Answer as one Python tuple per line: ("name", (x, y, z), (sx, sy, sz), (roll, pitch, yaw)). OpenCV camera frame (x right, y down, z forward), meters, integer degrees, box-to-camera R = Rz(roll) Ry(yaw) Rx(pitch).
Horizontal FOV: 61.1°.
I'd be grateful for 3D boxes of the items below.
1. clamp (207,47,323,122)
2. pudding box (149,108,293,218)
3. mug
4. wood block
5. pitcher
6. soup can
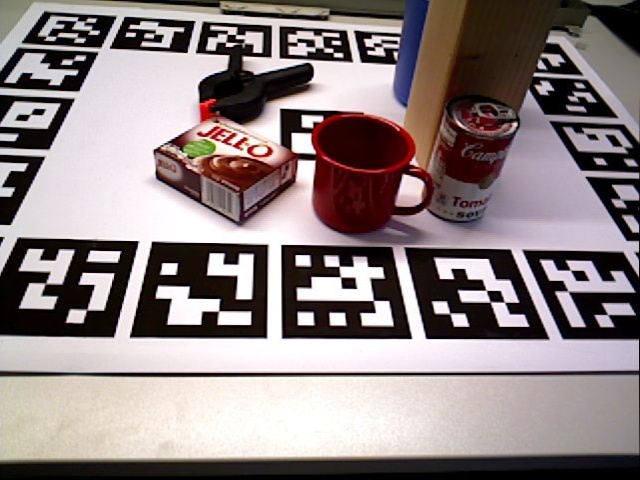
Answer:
("clamp", (-0.081, -0.185, 0.649), (0.122, 0.037, 0.161), (28, 49, 11))
("pudding box", (-0.096, -0.078, 0.531), (0.114, 0.039, 0.088), (29, 52, 23))
("mug", (0.048, -0.057, 0.489), (0.117, 0.083, 0.091), (28, 46, 22))
("wood block", (0.159, -0.174, 0.527), (0.089, 0.211, 0.089), (3, 44, -9))
("pitcher", (0.180, -0.269, 0.602), (0.188, 0.248, 0.131), (0, 43, -3))
("soup can", (0.140, -0.075, 0.501), (0.067, 0.104, 0.067), (3, 47, -4))
